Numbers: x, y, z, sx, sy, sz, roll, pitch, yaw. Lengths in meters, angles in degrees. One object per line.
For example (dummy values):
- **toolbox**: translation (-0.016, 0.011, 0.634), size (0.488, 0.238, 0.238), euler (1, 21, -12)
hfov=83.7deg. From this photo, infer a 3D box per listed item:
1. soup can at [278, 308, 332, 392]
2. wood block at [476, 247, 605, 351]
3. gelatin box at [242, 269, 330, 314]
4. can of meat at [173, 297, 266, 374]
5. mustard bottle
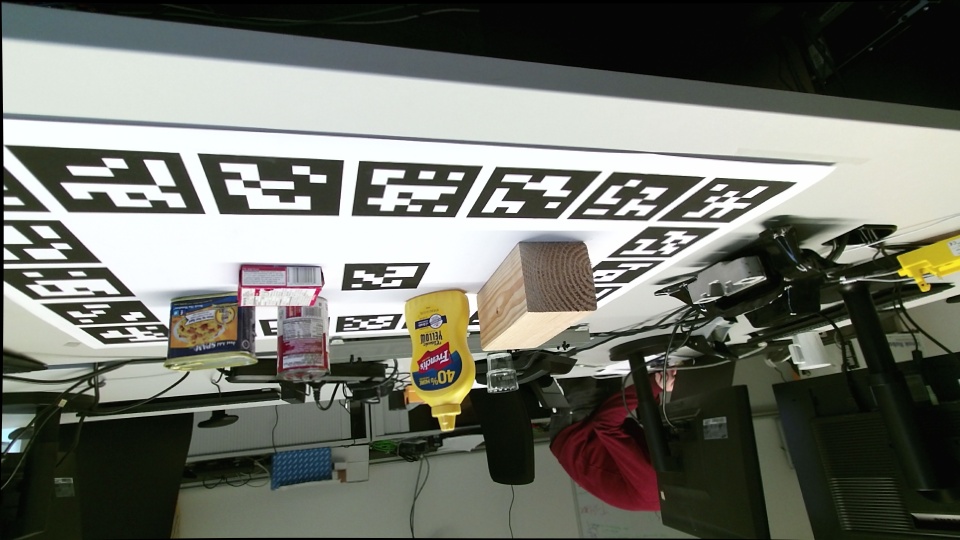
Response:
- **soup can**: translation (-0.238, 0.108, 0.728), size (0.068, 0.101, 0.068), euler (-8, 157, -3)
- **wood block**: translation (0.071, 0.048, 0.725), size (0.091, 0.089, 0.206), euler (1, 161, -18)
- **gelatin box**: translation (-0.230, 0.026, 0.633), size (0.090, 0.030, 0.073), euler (1, 155, -29)
- **can of meat**: translation (-0.327, 0.083, 0.685), size (0.102, 0.083, 0.058), euler (-4, 158, -4)
- **mustard bottle**: translation (-0.046, 0.132, 0.770), size (0.096, 0.190, 0.058), euler (-9, 159, 7)
